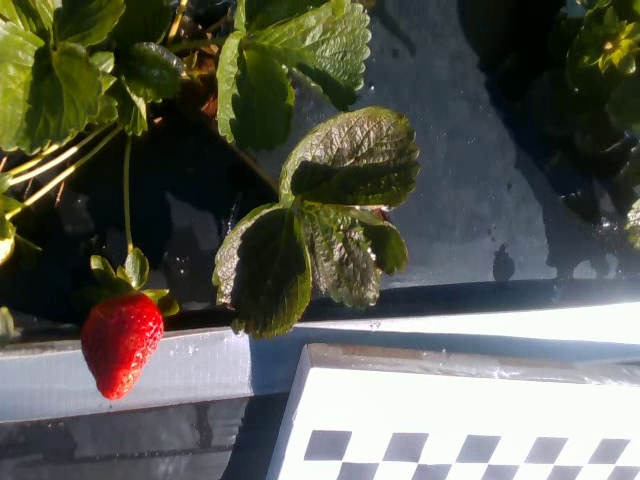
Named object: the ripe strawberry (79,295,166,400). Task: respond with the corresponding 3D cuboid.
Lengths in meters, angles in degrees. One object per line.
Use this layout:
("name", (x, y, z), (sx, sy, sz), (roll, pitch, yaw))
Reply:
("ripe strawberry", (-0.076, 0.041, 0.237), (0.036, 0.038, 0.046), (7, 43, -12))
